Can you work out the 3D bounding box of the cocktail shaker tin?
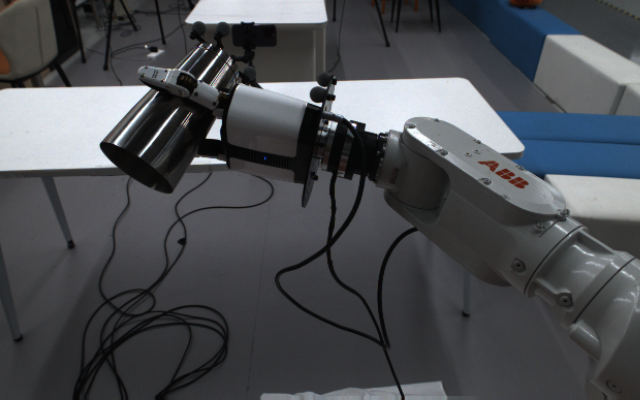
[{"bbox_3d":[-0.163,-0.105,0.568,0.093,0.093,0.170,18,66,21],"label":"cocktail shaker tin"}]
